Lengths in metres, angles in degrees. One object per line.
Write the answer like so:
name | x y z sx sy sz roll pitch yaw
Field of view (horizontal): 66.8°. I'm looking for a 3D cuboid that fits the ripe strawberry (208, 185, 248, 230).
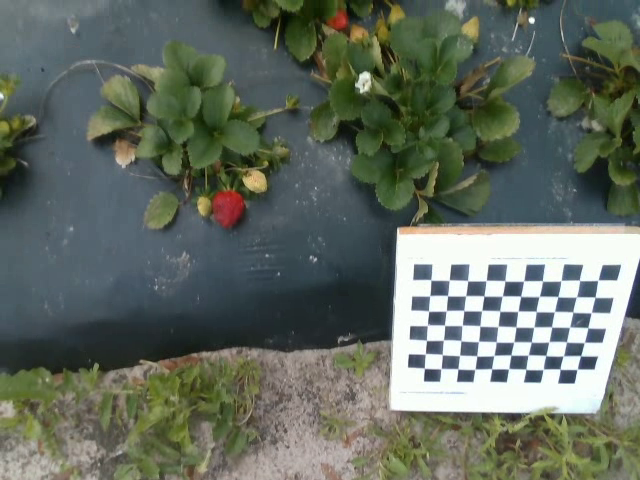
ripe strawberry | -0.121 -0.037 0.632 0.046 0.059 0.046 -5 -45 5
